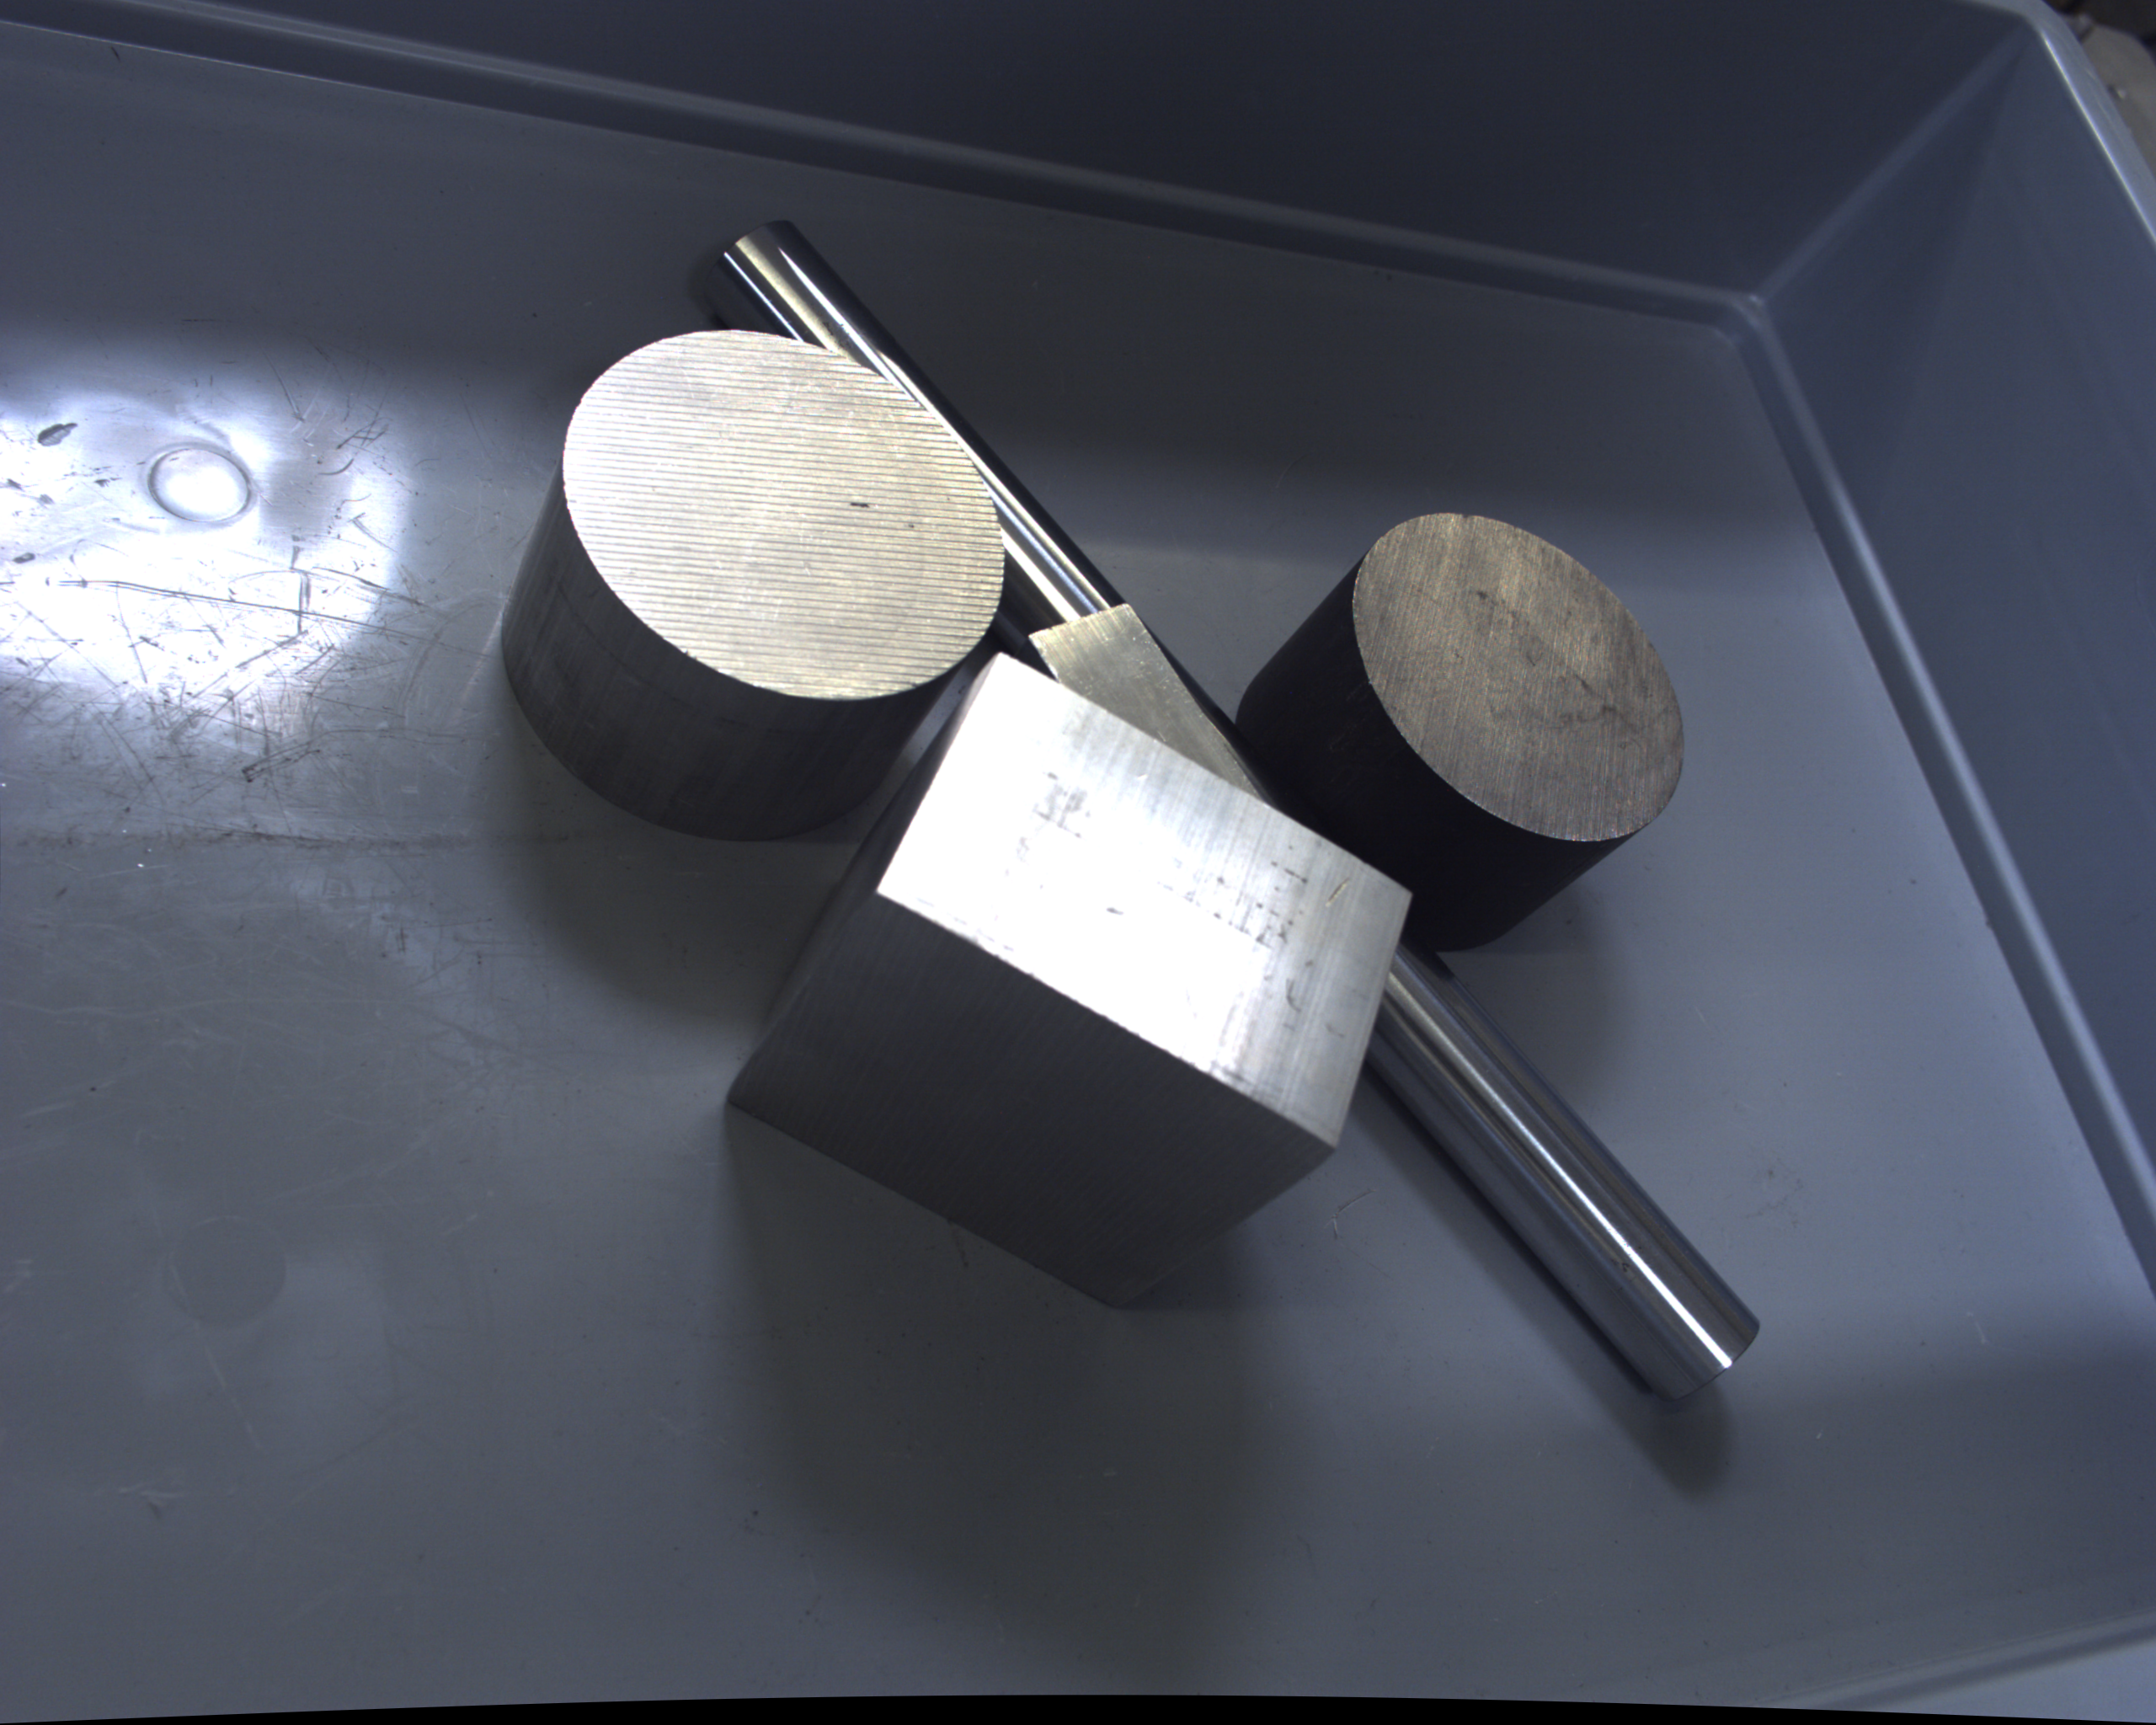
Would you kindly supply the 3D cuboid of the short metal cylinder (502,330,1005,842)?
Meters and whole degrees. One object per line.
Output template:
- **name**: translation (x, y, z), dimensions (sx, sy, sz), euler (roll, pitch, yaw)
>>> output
- **short metal cylinder**: translation (-0.060, -0.051, 0.386), dimensions (0.081, 0.050, 0.080), euler (14, 56, -21)

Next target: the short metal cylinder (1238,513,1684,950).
- **short metal cylinder**: translation (0.081, -0.028, 0.448), dimensions (0.081, 0.050, 0.080), euler (14, 56, -21)

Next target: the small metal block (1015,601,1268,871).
- **small metal block**: translation (0.003, -0.013, 0.396), dimensions (0.025, 0.050, 0.050), euler (-23, 75, -36)

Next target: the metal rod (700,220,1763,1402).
- **metal rod**: translation (0.027, -0.015, 0.427), dimensions (0.300, 0.025, 0.025), euler (49, 51, 6)

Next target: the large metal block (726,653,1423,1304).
- **large metal block**: translation (-0.002, 0.023, 0.352), dimensions (0.080, 0.080, 0.050), euler (30, 53, -9)
